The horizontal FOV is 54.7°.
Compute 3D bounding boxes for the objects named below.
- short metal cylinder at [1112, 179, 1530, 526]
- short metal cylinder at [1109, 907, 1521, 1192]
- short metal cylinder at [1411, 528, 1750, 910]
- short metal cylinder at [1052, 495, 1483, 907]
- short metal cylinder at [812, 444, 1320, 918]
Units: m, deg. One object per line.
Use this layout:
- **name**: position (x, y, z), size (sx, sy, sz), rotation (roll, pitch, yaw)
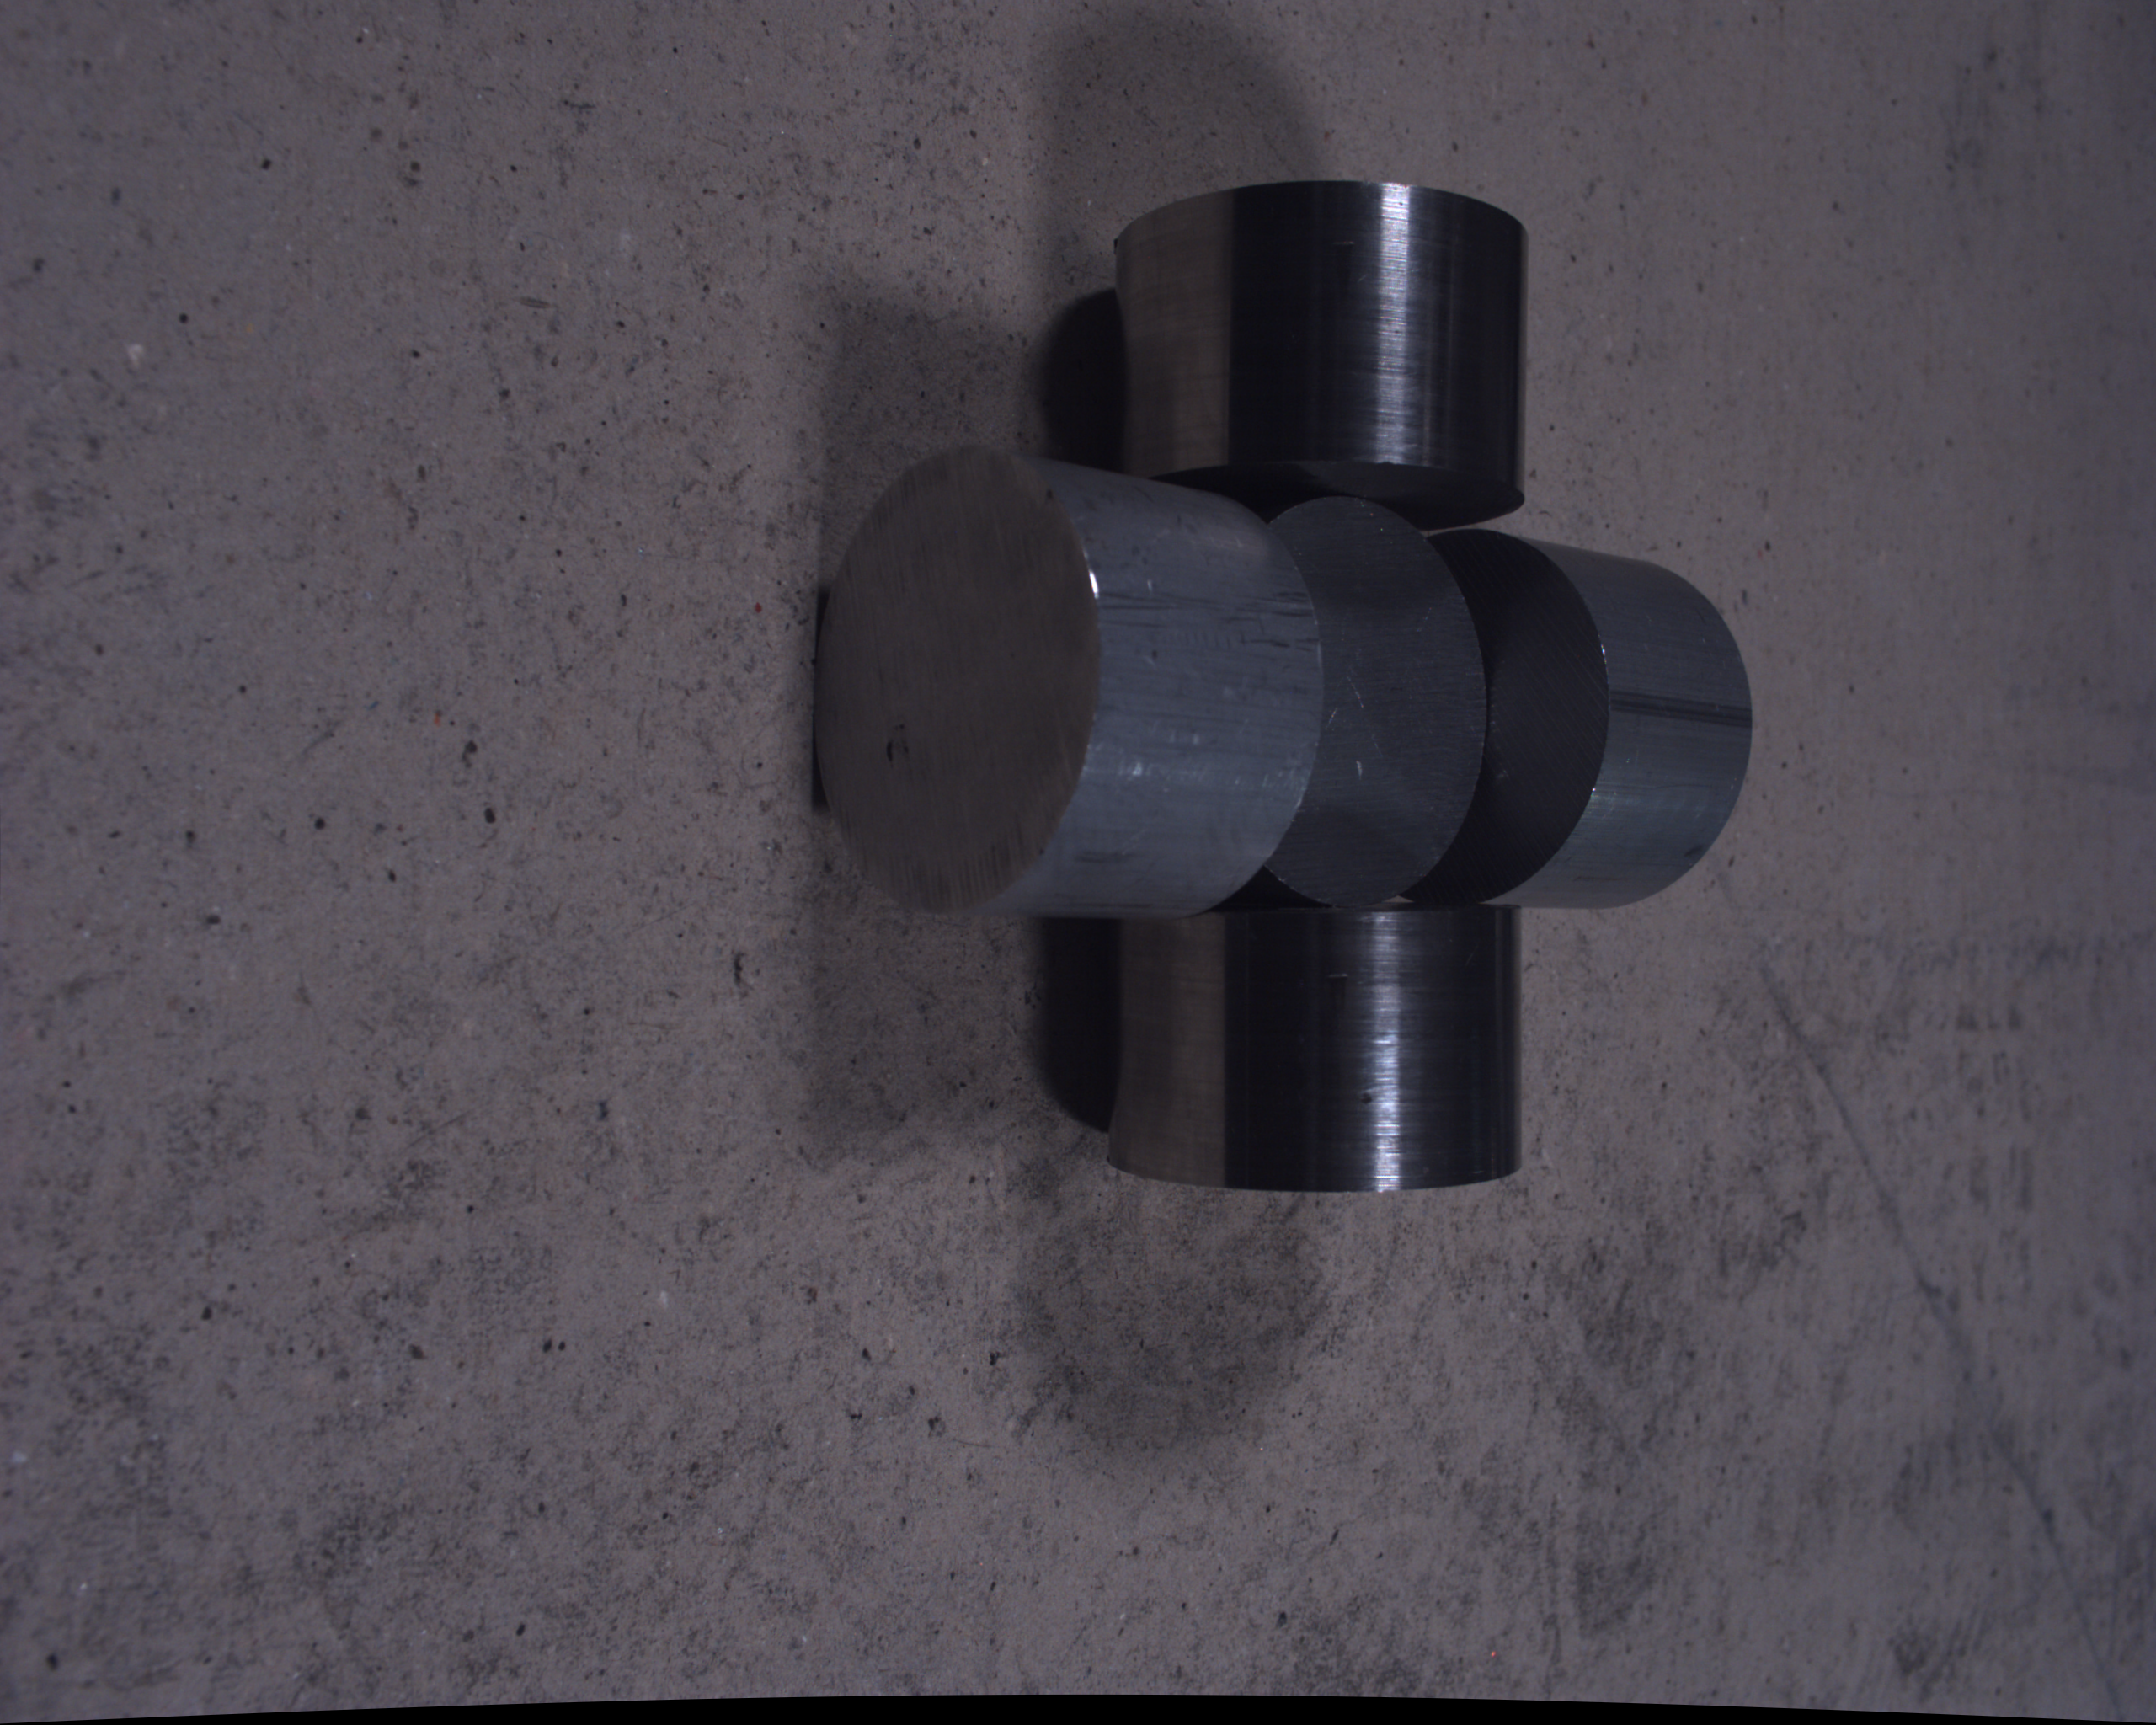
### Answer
- **short metal cylinder**: position (0.048, -0.097, 0.411), size (0.081, 0.080, 0.050), rotation (2, 89, -40)
- **short metal cylinder**: position (0.046, 0.034, 0.411), size (0.081, 0.080, 0.050), rotation (0, 89, -40)
- **short metal cylinder**: position (0.097, -0.030, 0.454), size (0.050, 0.080, 0.079), rotation (3, 89, -40)
- **short metal cylinder**: position (0.037, -0.031, 0.423), size (0.081, 0.050, 0.079), rotation (0, 90, -40)
- **short metal cylinder**: position (-0.004, -0.030, 0.369), size (0.050, 0.080, 0.079), rotation (3, 89, -40)
